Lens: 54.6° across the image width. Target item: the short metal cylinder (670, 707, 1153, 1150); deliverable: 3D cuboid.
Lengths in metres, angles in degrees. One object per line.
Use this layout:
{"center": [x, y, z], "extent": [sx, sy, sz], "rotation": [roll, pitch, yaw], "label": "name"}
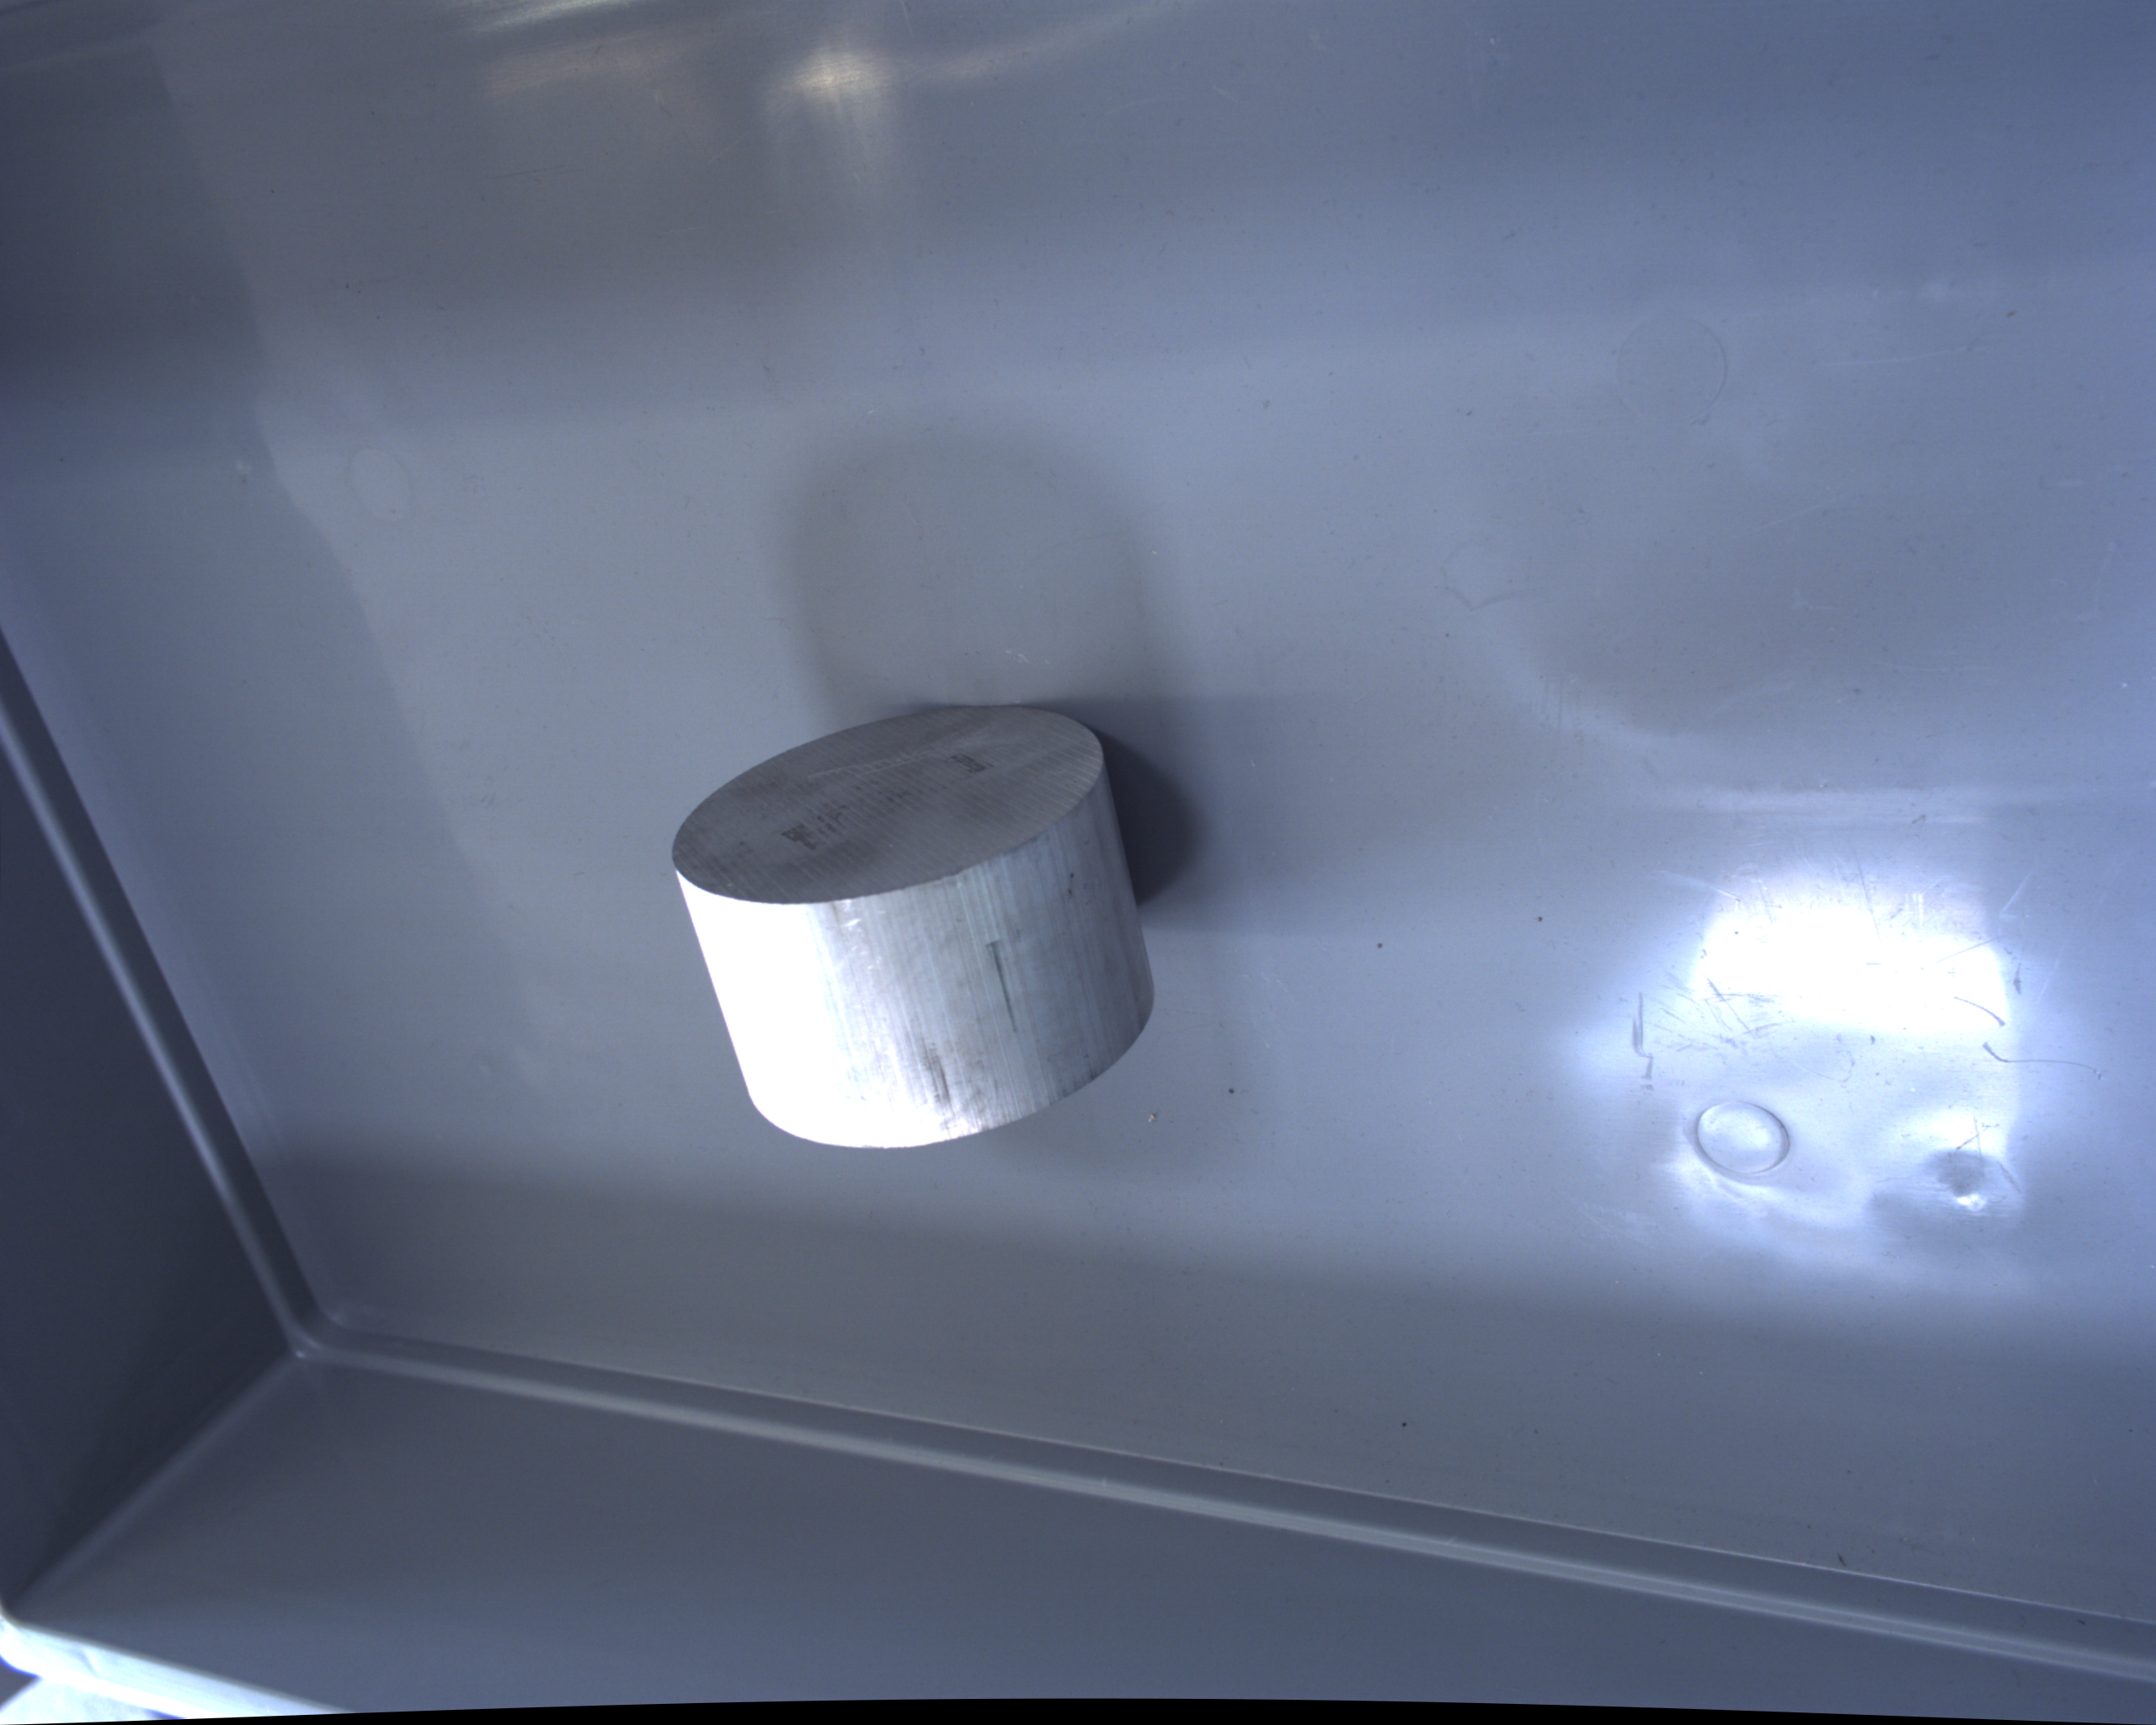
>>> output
{"center": [-0.030, 0.010, 0.392], "extent": [0.080, 0.080, 0.050], "rotation": [2, 119, 27], "label": "short metal cylinder"}
